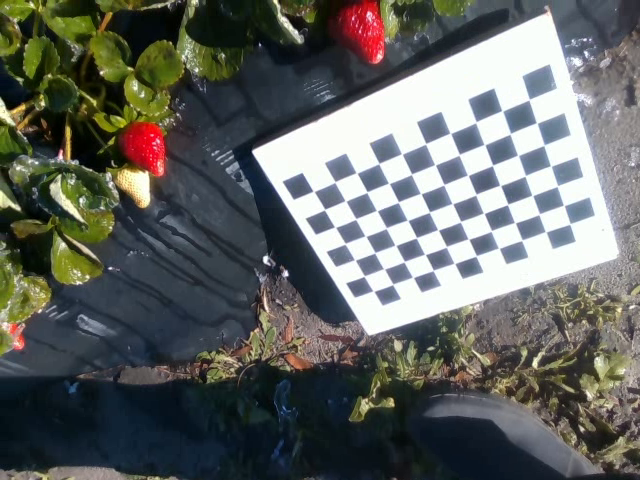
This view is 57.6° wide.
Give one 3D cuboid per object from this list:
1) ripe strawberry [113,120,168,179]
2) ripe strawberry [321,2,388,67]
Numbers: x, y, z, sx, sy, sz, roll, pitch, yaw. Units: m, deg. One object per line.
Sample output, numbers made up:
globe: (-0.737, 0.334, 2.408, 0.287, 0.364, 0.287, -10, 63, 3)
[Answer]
ripe strawberry: (-0.161, -0.083, 0.553, 0.042, 0.061, 0.046, -35, -16, 25)
ripe strawberry: (0.034, -0.168, 0.469, 0.048, 0.061, 0.044, -28, -3, 22)
